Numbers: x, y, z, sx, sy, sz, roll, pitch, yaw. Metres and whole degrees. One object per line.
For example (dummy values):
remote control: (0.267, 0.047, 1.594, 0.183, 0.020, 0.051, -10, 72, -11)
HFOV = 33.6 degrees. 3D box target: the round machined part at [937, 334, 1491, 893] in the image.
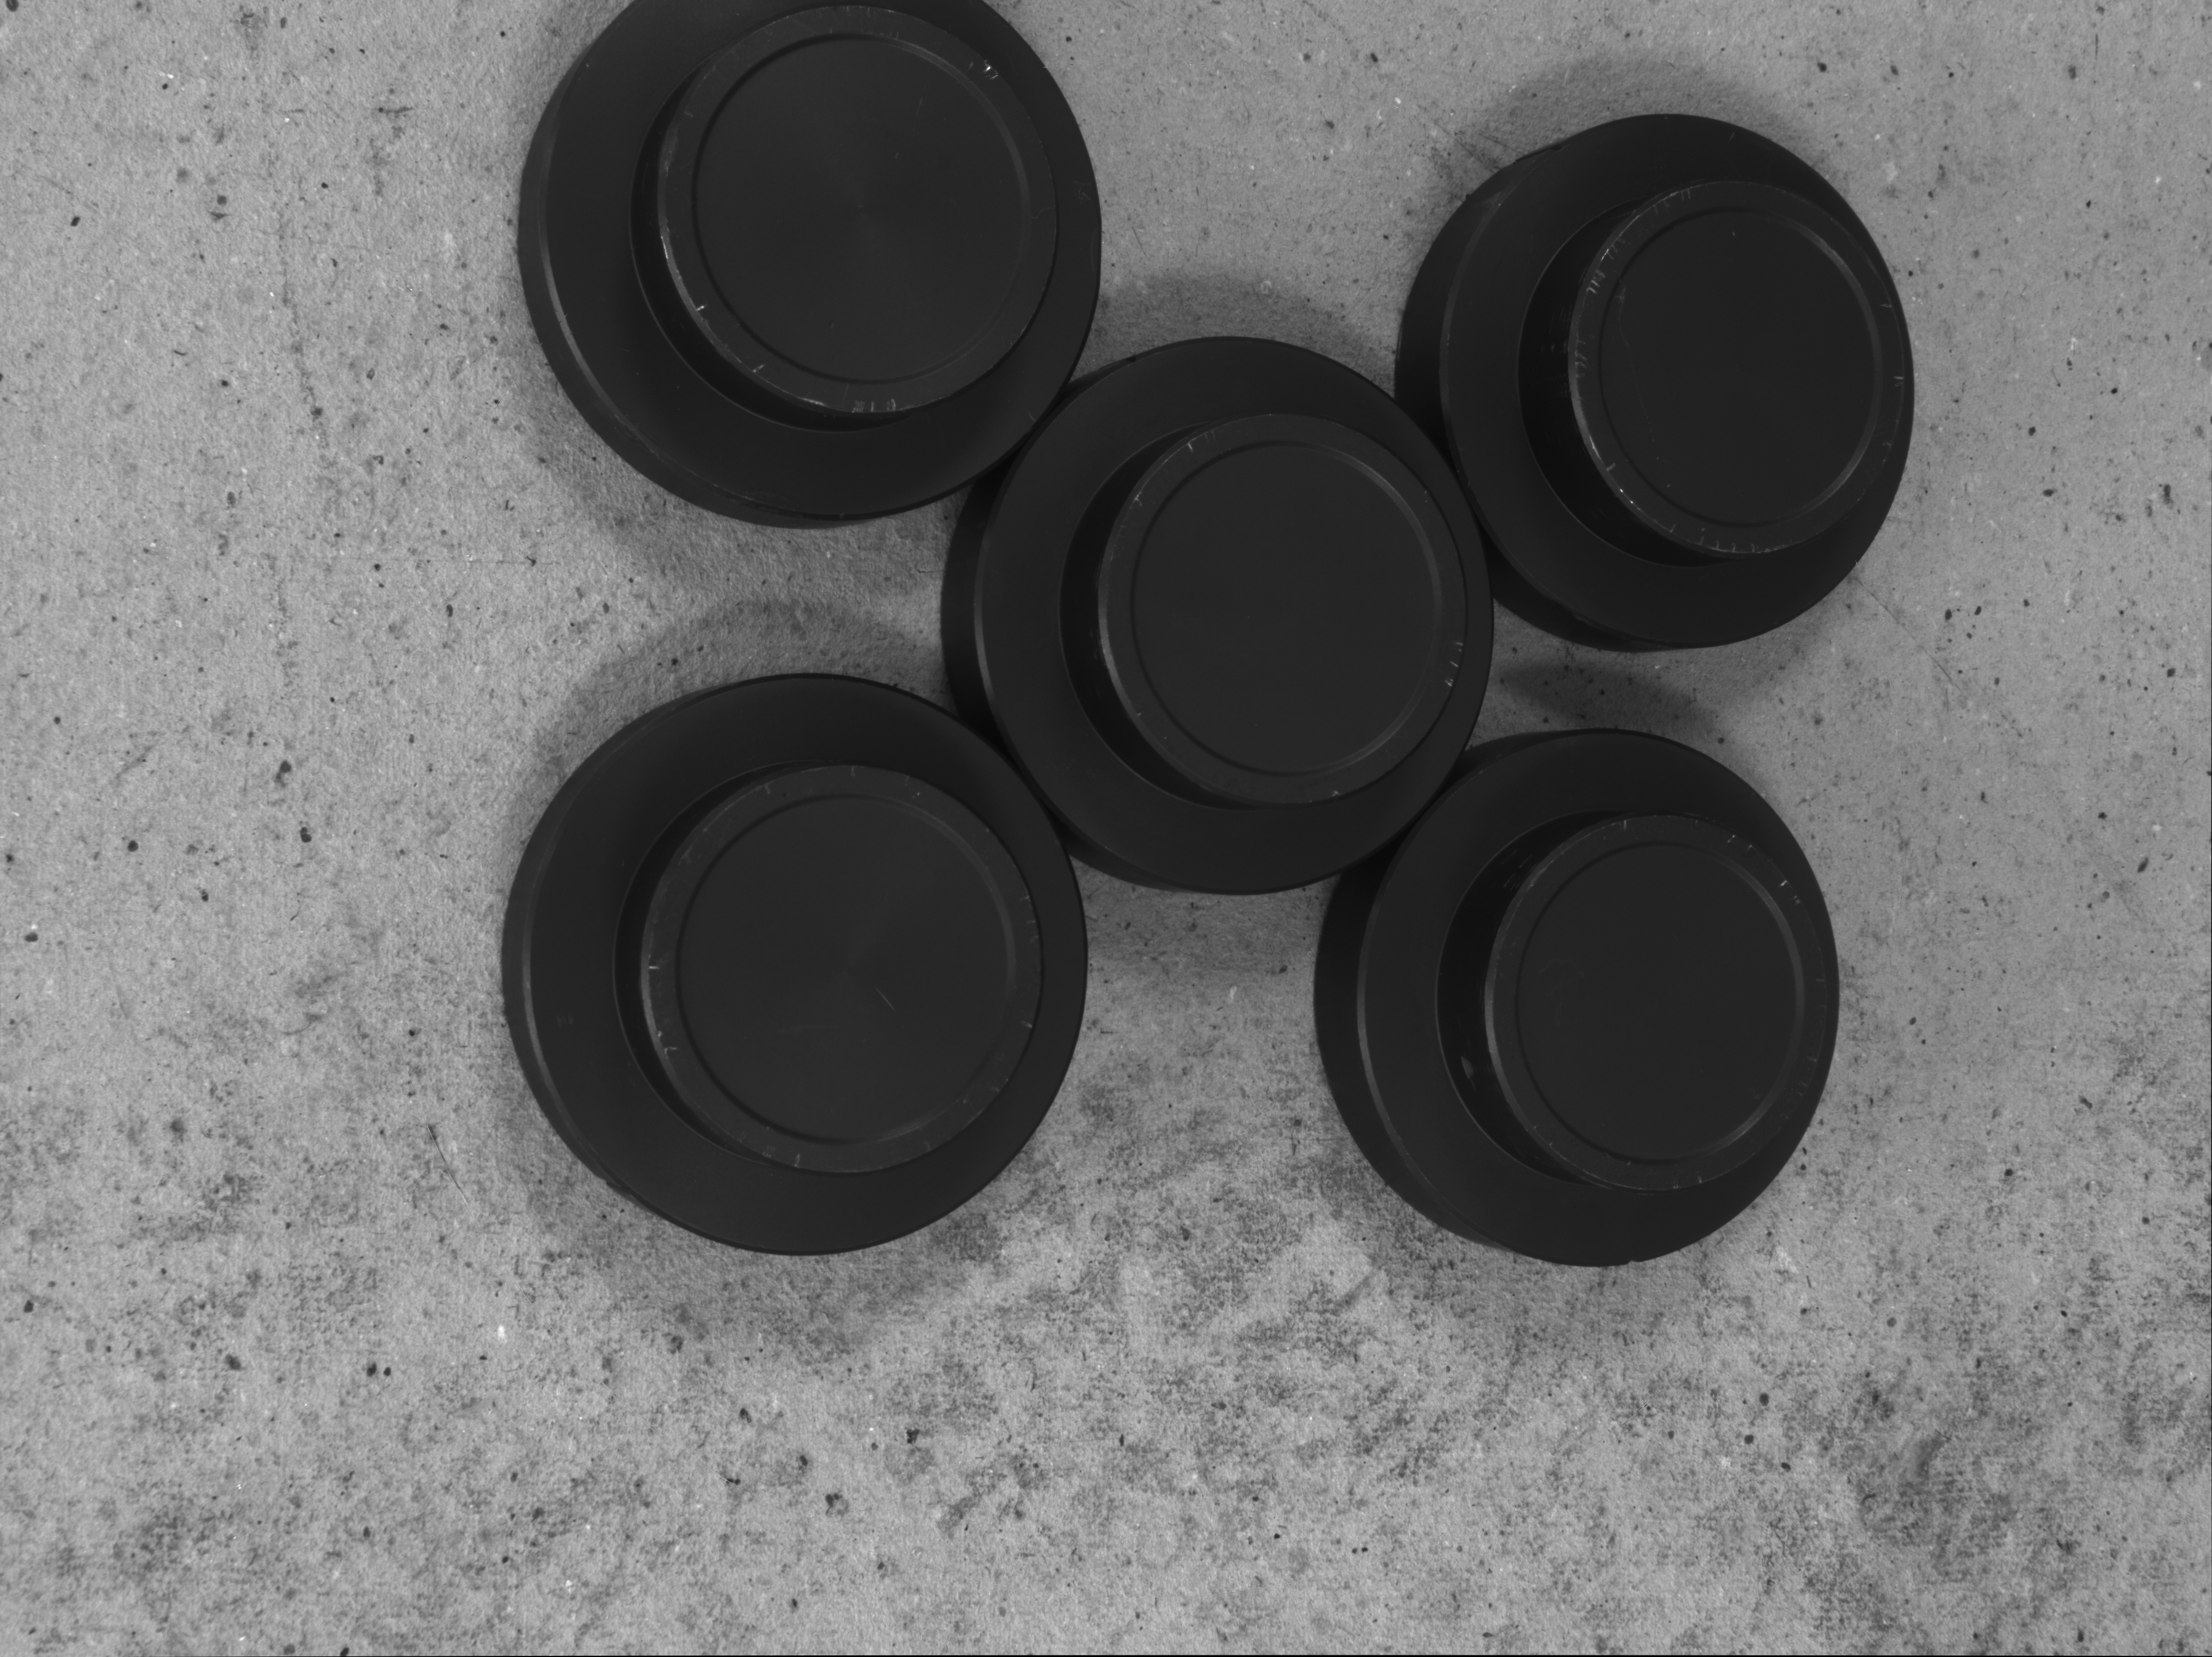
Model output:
round machined part: (0.023, -0.037, 0.642, 0.098, 0.042, 0.098, -1, 92, -19)

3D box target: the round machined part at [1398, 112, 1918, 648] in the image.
round machined part: (0.106, -0.082, 0.672, 0.098, 0.042, 0.098, -1, 92, -19)

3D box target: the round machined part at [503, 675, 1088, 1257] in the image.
round machined part: (-0.049, 0.023, 0.616, 0.098, 0.042, 0.098, 0, 91, -20)

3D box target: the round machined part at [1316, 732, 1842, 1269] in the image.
round machined part: (0.091, 0.031, 0.667, 0.098, 0.042, 0.098, -1, 92, -19)

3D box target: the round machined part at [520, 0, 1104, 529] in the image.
round machined part: (-0.046, -0.101, 0.617, 0.098, 0.042, 0.098, 0, 90, -20)
